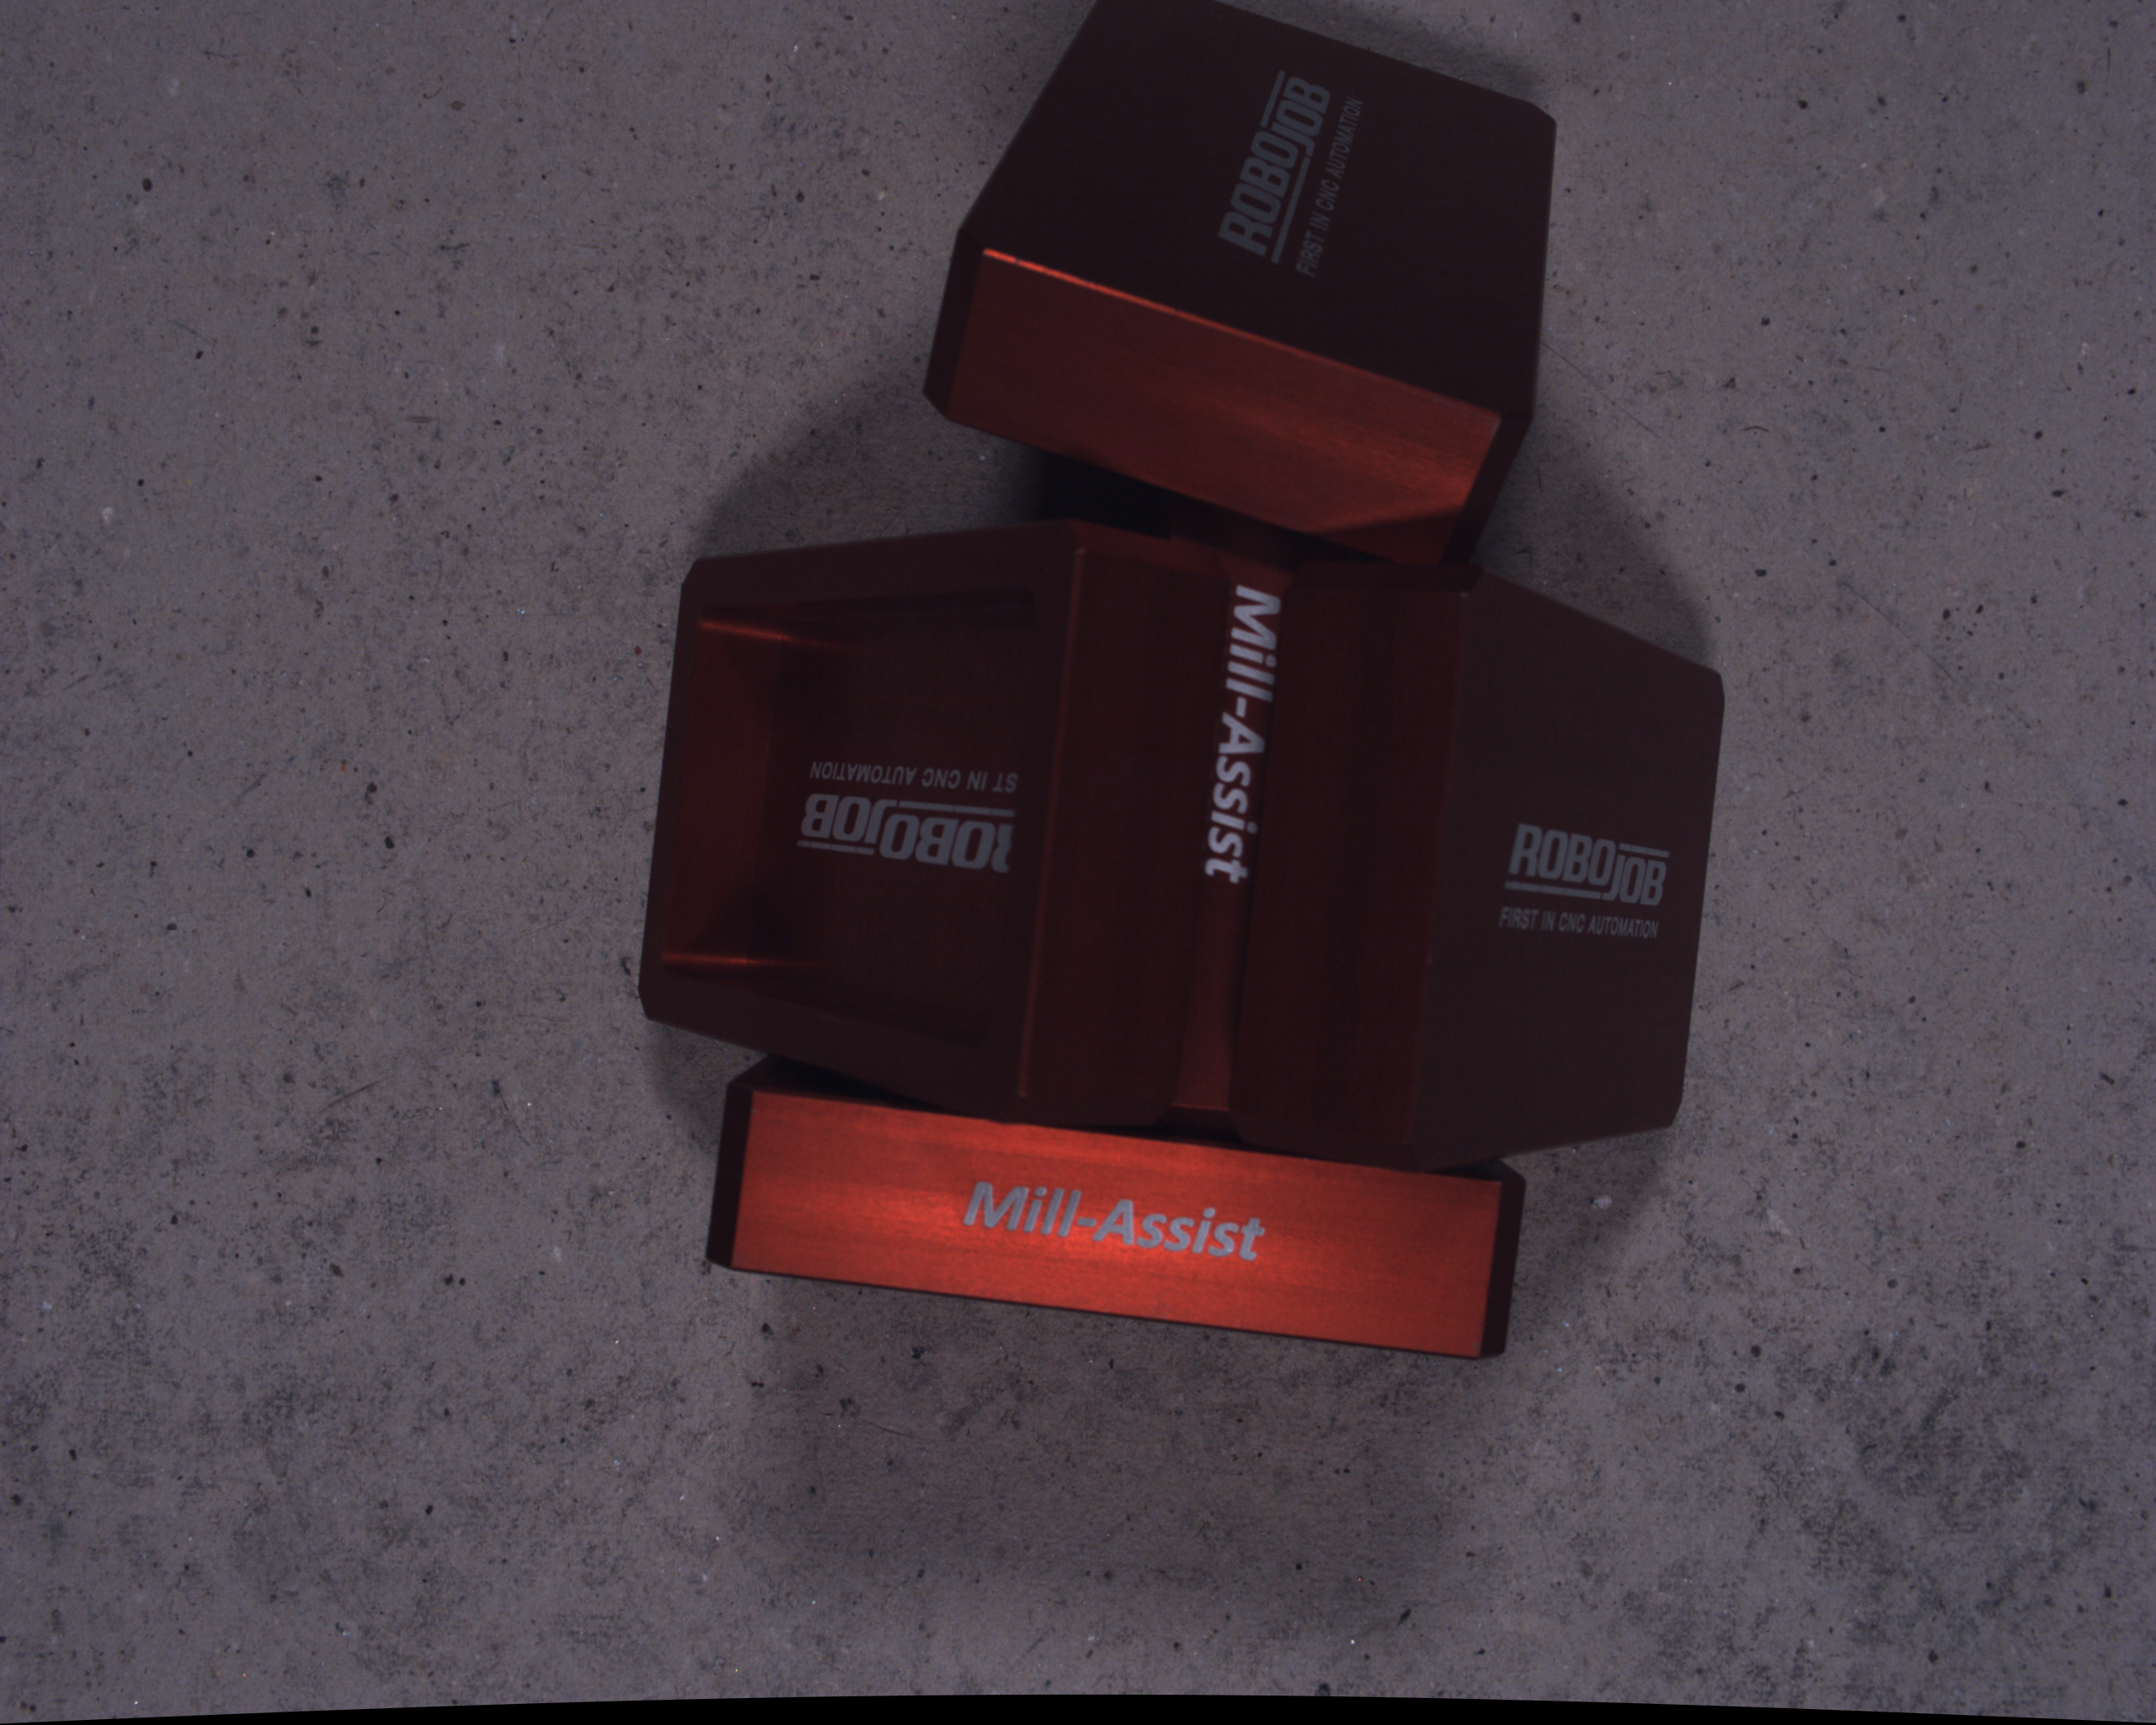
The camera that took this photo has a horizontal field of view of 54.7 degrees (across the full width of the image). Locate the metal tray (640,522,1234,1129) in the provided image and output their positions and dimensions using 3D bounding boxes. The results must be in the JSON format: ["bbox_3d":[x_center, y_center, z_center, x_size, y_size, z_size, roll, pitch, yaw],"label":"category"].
[{"bbox_3d":[-0.030,-0.008,0.362,0.030,0.130,0.089,6,90,-37],"label":"metal tray"}]

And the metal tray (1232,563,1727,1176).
[{"bbox_3d":[0.075,0.003,0.362,0.030,0.131,0.089,6,91,33],"label":"metal tray"}]

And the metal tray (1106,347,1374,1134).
[{"bbox_3d":[0.026,-0.021,0.378,0.030,0.090,0.129,7,90,0],"label":"metal tray"}]

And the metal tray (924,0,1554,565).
[{"bbox_3d":[0.034,-0.109,0.365,0.090,0.130,0.030,18,131,-1],"label":"metal tray"}]

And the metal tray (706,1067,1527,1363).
[{"bbox_3d":[0.006,0.058,0.378,0.131,0.090,0.030,7,90,-1],"label":"metal tray"}]
